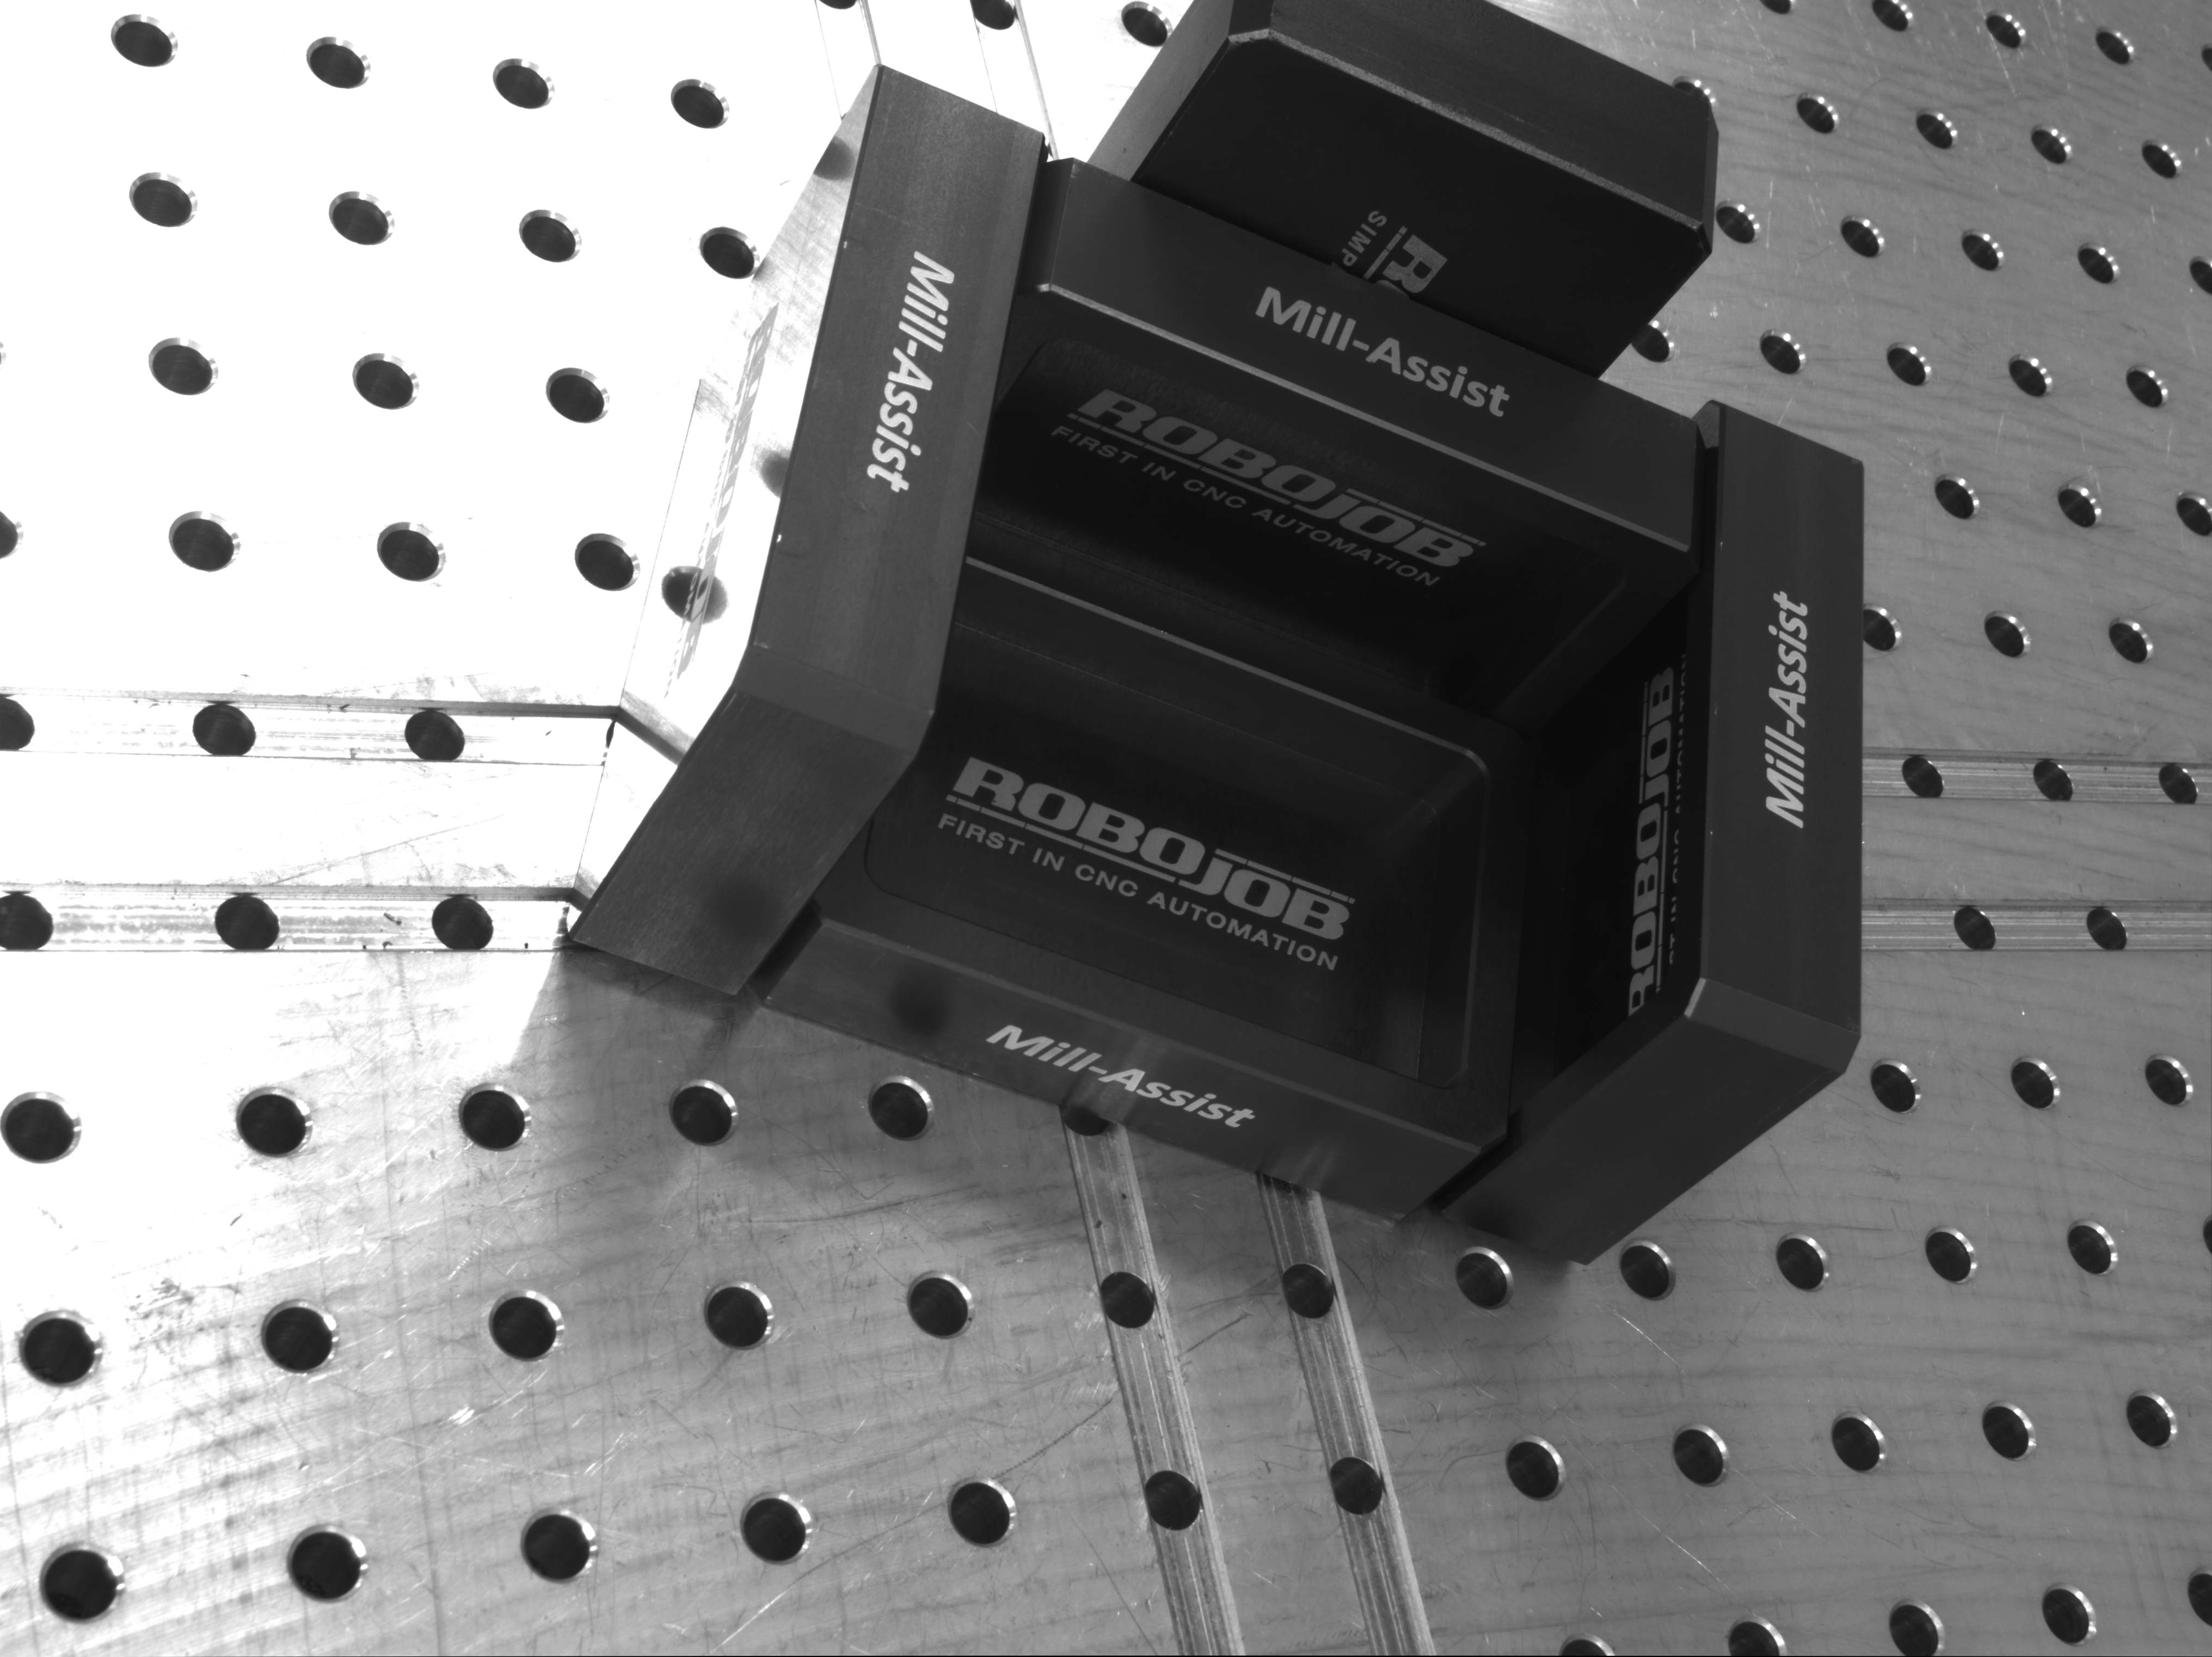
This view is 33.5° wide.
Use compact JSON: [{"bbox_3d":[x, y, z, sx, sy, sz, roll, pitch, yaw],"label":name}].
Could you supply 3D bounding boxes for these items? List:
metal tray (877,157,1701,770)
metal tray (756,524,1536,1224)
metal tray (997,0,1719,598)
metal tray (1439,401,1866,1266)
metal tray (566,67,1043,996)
[{"bbox_3d":[0.028,-0.058,0.651,0.130,0.090,0.030,20,54,-17],"label":"metal tray"},{"bbox_3d":[0.009,0.006,0.640,0.130,0.030,0.090,20,54,-16],"label":"metal tray"},{"bbox_3d":[0.037,-0.094,0.651,0.090,0.130,0.030,21,54,-16],"label":"metal tray"},{"bbox_3d":[0.096,0.001,0.651,0.030,0.090,0.130,20,54,-16],"label":"metal tray"},{"bbox_3d":[-0.049,-0.049,0.604,0.030,0.090,0.130,20,54,-17],"label":"metal tray"}]
